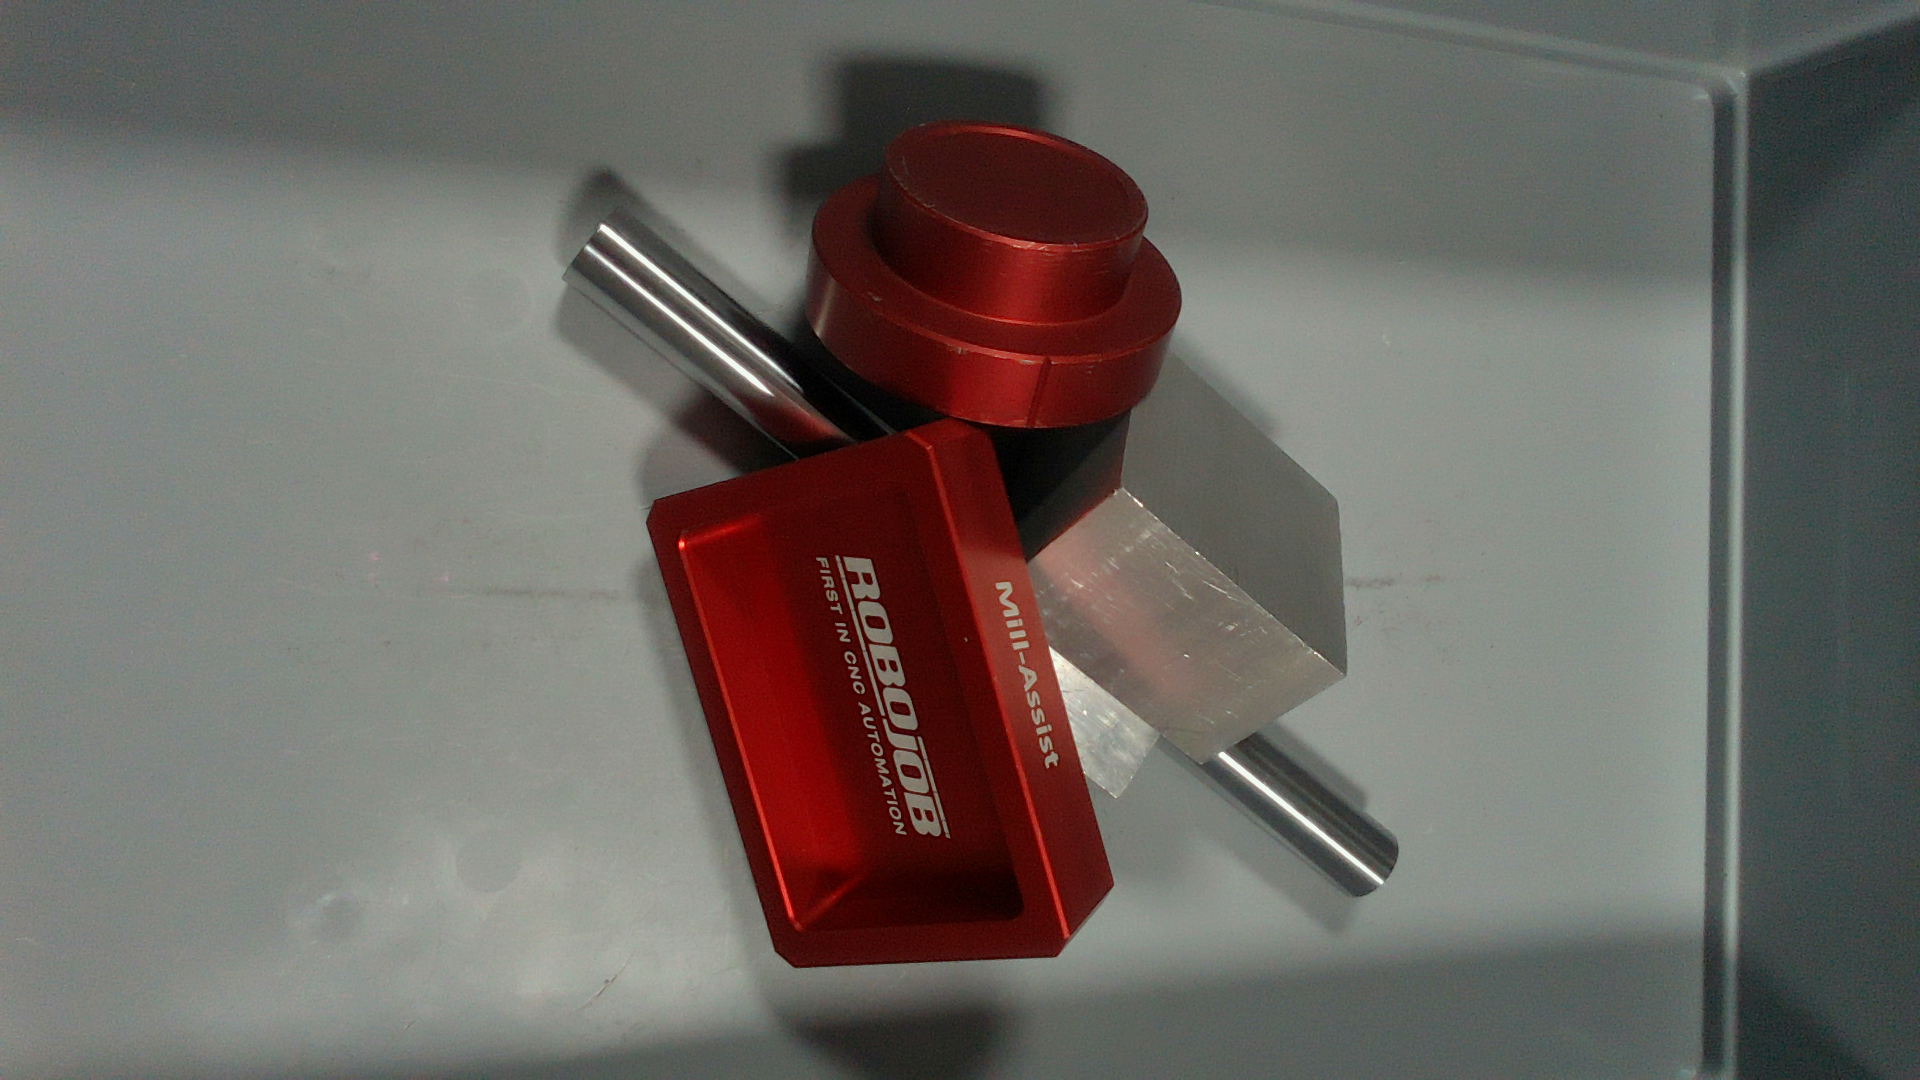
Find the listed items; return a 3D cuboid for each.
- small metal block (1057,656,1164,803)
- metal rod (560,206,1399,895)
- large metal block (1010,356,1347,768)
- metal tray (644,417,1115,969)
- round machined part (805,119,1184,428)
[{"bbox_3d":[0.023,0.045,0.387,0.050,0.050,0.025,40,78,-16],"label":"small metal block"},{"bbox_3d":[0.017,0.013,0.398,0.301,0.025,0.025,38,78,-16],"label":"metal rod"},{"bbox_3d":[0.059,0.001,0.380,0.080,0.050,0.080,39,35,-16],"label":"large metal block"},{"bbox_3d":[-0.022,0.042,0.352,0.030,0.090,0.130,-25,101,-59],"label":"metal tray"},{"bbox_3d":[0.011,-0.074,0.355,0.098,0.098,0.042,-2,131,-20],"label":"round machined part"}]
